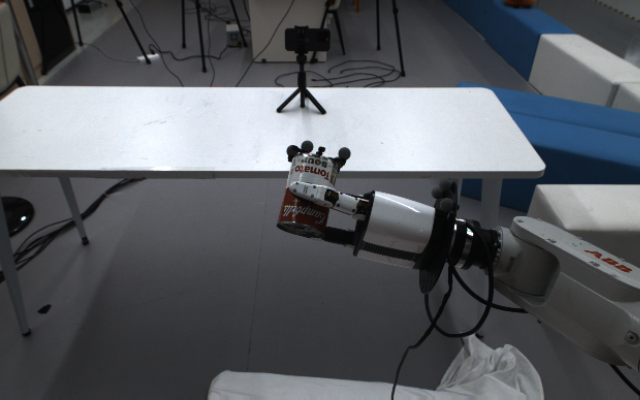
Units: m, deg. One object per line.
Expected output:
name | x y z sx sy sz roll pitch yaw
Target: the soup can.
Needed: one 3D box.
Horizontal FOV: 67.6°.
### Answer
soup can | -0.015 -0.006 0.668 0.067 0.067 0.101 9 74 9
